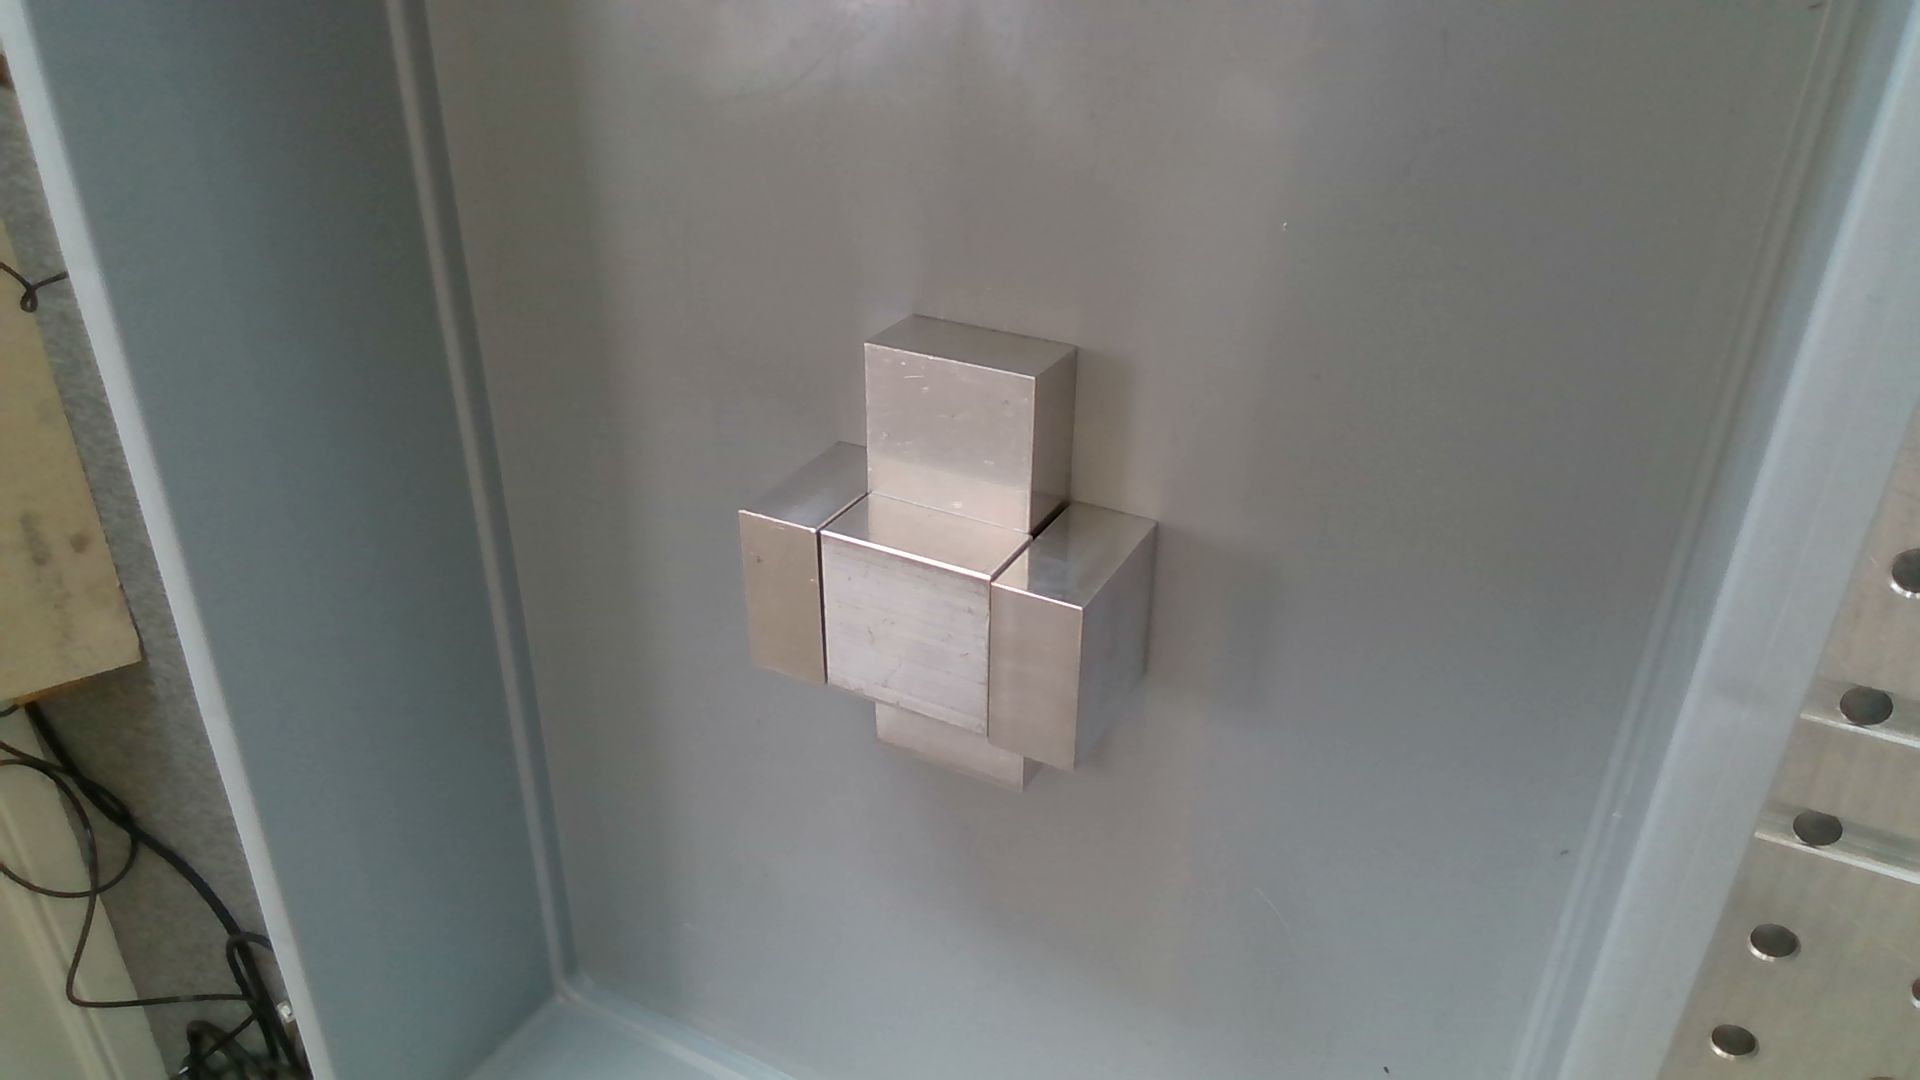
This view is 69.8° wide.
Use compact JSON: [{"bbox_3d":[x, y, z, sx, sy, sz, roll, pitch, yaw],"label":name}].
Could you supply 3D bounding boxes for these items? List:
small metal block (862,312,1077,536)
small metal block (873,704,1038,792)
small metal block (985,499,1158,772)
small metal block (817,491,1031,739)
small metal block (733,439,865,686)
[{"bbox_3d":[0.002,-0.029,0.369,0.050,0.025,0.050,15,122,24],"label":"small metal block"},{"bbox_3d":[0.002,0.040,0.408,0.050,0.025,0.050,15,122,24],"label":"small metal block"},{"bbox_3d":[0.030,0.024,0.365,0.025,0.050,0.050,15,122,24],"label":"small metal block"},{"bbox_3d":[-0.010,0.019,0.370,0.050,0.025,0.050,15,122,24],"label":"small metal block"},{"bbox_3d":[-0.038,0.005,0.396,0.025,0.050,0.050,15,122,24],"label":"small metal block"}]
